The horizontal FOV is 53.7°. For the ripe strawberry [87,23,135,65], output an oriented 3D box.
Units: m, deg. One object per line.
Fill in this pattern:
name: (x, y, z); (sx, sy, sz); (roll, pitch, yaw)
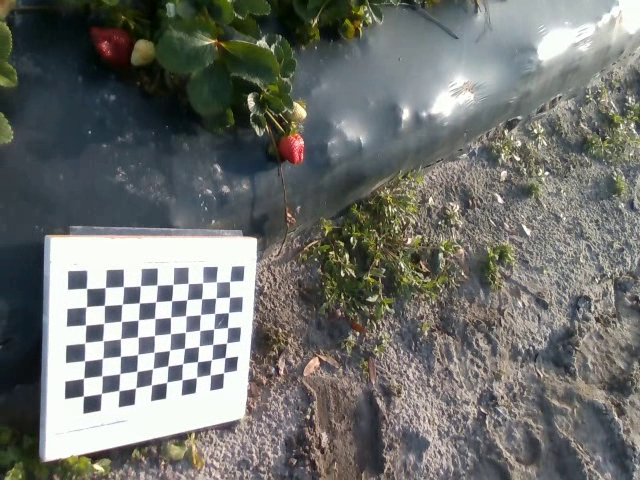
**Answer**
ripe strawberry: (-0.284, -0.269, 0.866); (0.057, 0.058, 0.070); (11, -2, 23)

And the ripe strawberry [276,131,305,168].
ripe strawberry: (-0.036, -0.142, 0.973); (0.047, 0.050, 0.034); (-26, 17, -36)
